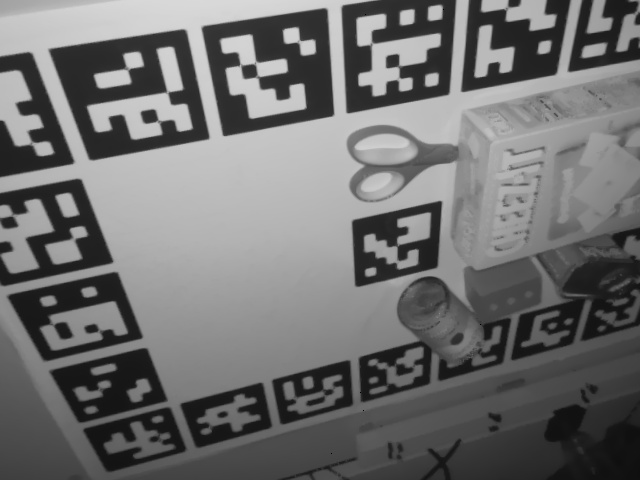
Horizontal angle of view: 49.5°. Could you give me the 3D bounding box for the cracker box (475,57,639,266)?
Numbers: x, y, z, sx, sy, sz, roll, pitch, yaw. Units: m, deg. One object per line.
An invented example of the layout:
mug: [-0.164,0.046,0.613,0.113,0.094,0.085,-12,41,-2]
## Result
cracker box: [0.267,-0.076,0.688,0.215,0.072,0.163,-19,129,-9]

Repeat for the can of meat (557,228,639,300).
can of meat: [0.329,0.019,0.786,0.103,0.084,0.057,-1,124,-17]

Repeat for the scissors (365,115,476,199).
scissors: [0.144,-0.097,0.673,0.204,0.016,0.087,-16,127,-7]

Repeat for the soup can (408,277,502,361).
soup can: [0.158,0.094,0.806,0.067,0.068,0.103,-43,131,14]

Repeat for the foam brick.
foam brick: [0.235,0.054,0.804,0.078,0.051,0.052,-21,127,-2]
